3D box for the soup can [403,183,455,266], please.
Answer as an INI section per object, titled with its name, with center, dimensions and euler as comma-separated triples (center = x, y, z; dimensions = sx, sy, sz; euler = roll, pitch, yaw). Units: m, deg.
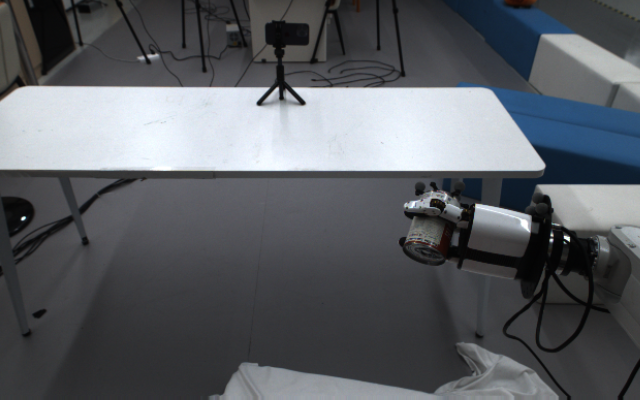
[soup can]
center = 0.178, 0.041, 0.767
dimensions = 0.067, 0.067, 0.101
euler = 15, 63, 18
